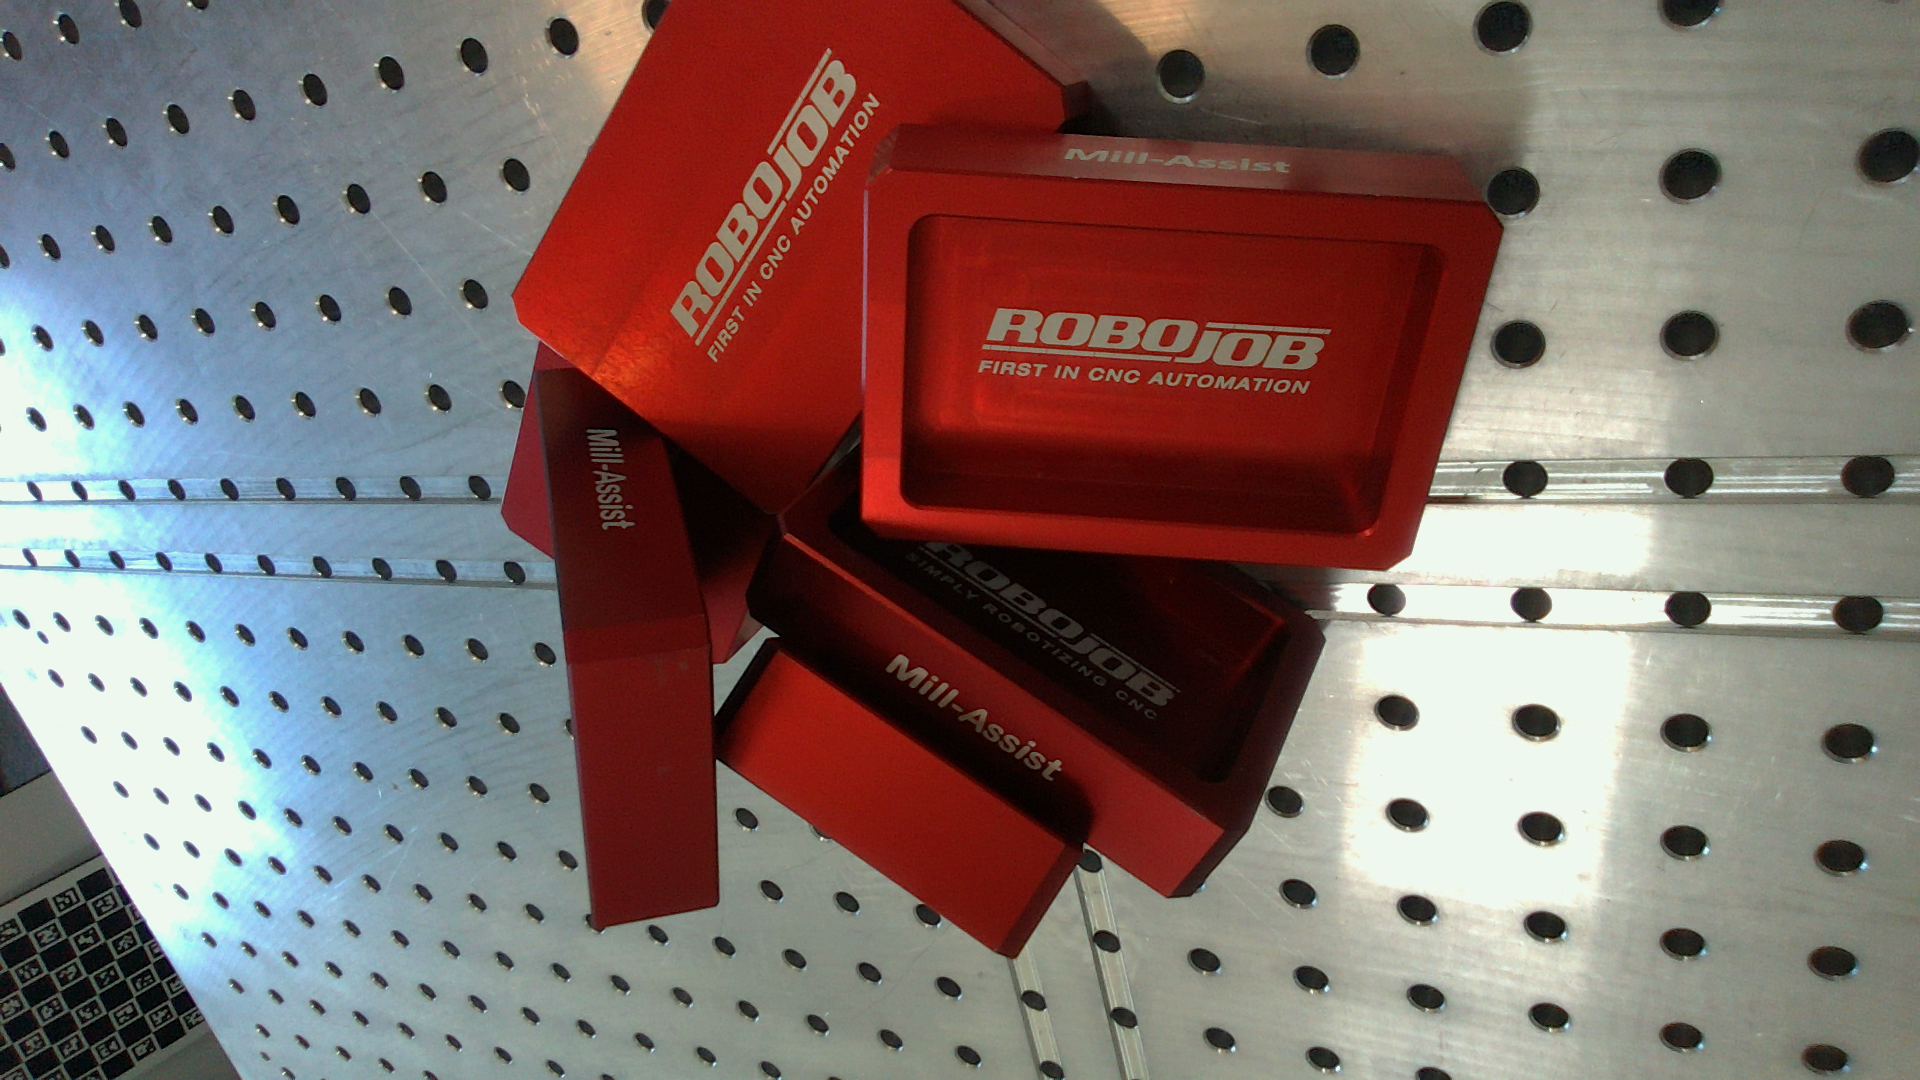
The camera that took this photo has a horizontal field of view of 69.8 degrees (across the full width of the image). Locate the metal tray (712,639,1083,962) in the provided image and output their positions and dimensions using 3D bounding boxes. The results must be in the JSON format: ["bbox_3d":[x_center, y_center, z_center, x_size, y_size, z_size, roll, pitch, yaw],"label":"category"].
[{"bbox_3d":[-0.011,0.063,0.379,0.090,0.130,0.030,34,90,6],"label":"metal tray"}]

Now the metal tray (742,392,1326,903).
[{"bbox_3d":[0.022,0.021,0.353,0.130,0.090,0.030,33,129,6],"label":"metal tray"}]

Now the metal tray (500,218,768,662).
[{"bbox_3d":[-0.085,-0.033,0.417,0.090,0.030,0.130,33,129,6],"label":"metal tray"}]

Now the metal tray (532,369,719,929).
[{"bbox_3d":[-0.089,0.022,0.360,0.030,0.130,0.090,-6,125,-17],"label":"metal tray"}]

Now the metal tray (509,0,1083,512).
[{"bbox_3d":[-0.043,-0.083,0.340,0.090,0.030,0.130,38,115,-1],"label":"metal tray"}]

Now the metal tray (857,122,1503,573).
[{"bbox_3d":[0.044,-0.041,0.312,0.130,0.030,0.090,4,123,0],"label":"metal tray"}]
